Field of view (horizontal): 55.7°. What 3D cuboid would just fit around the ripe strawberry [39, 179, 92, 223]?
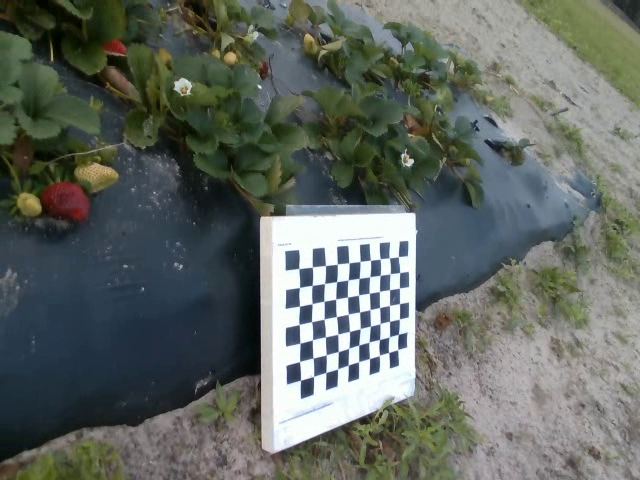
[{"bbox_3d":[-0.235,-0.031,0.565,0.047,0.045,0.059,-12,32,-45],"label":"ripe strawberry"}]
